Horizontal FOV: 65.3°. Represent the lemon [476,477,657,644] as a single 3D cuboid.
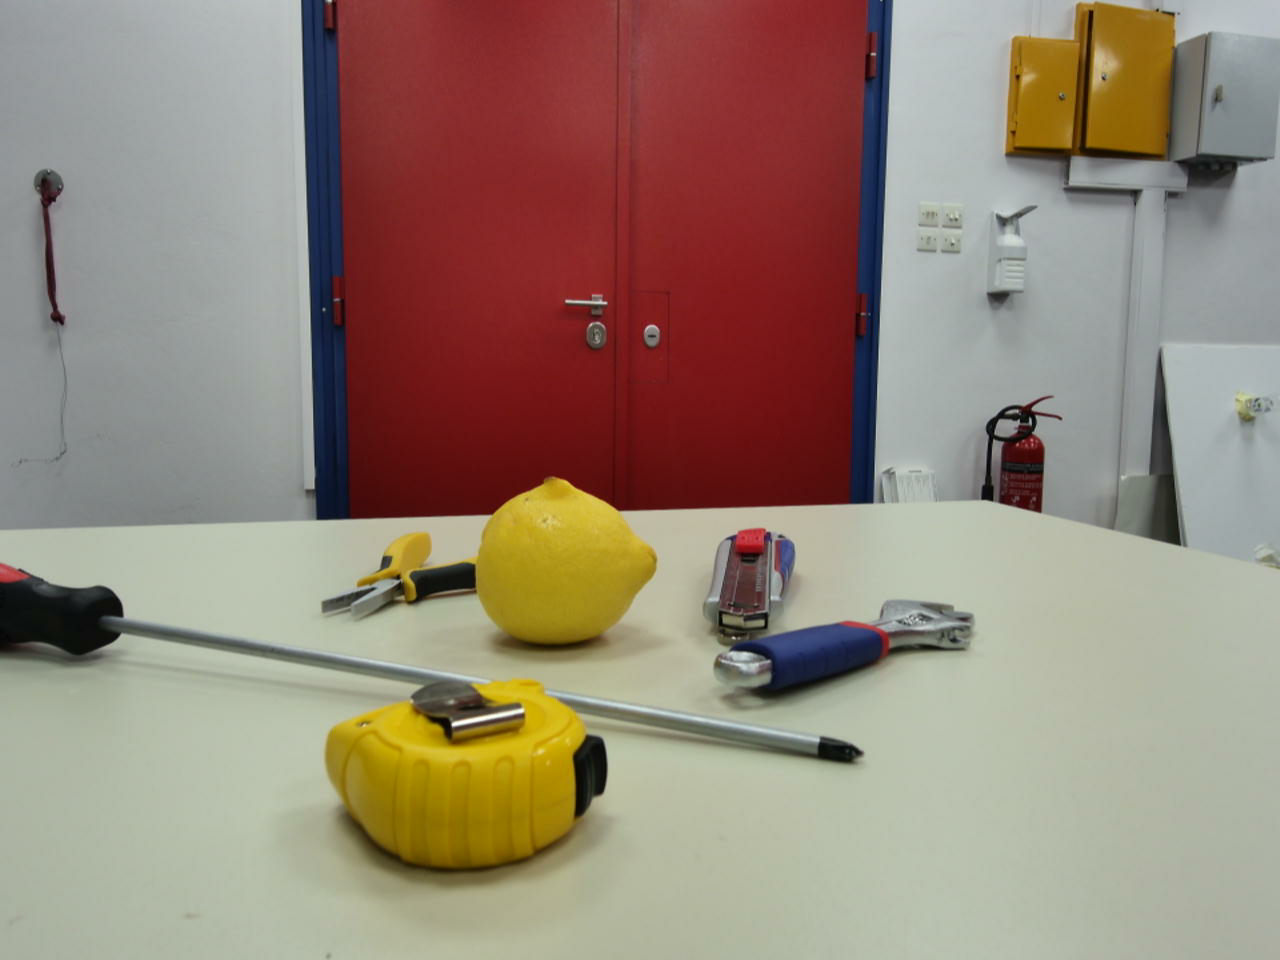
[{"bbox_3d":[-0.036,0.034,0.432,0.071,0.071,0.070,3,6,43],"label":"lemon"}]
